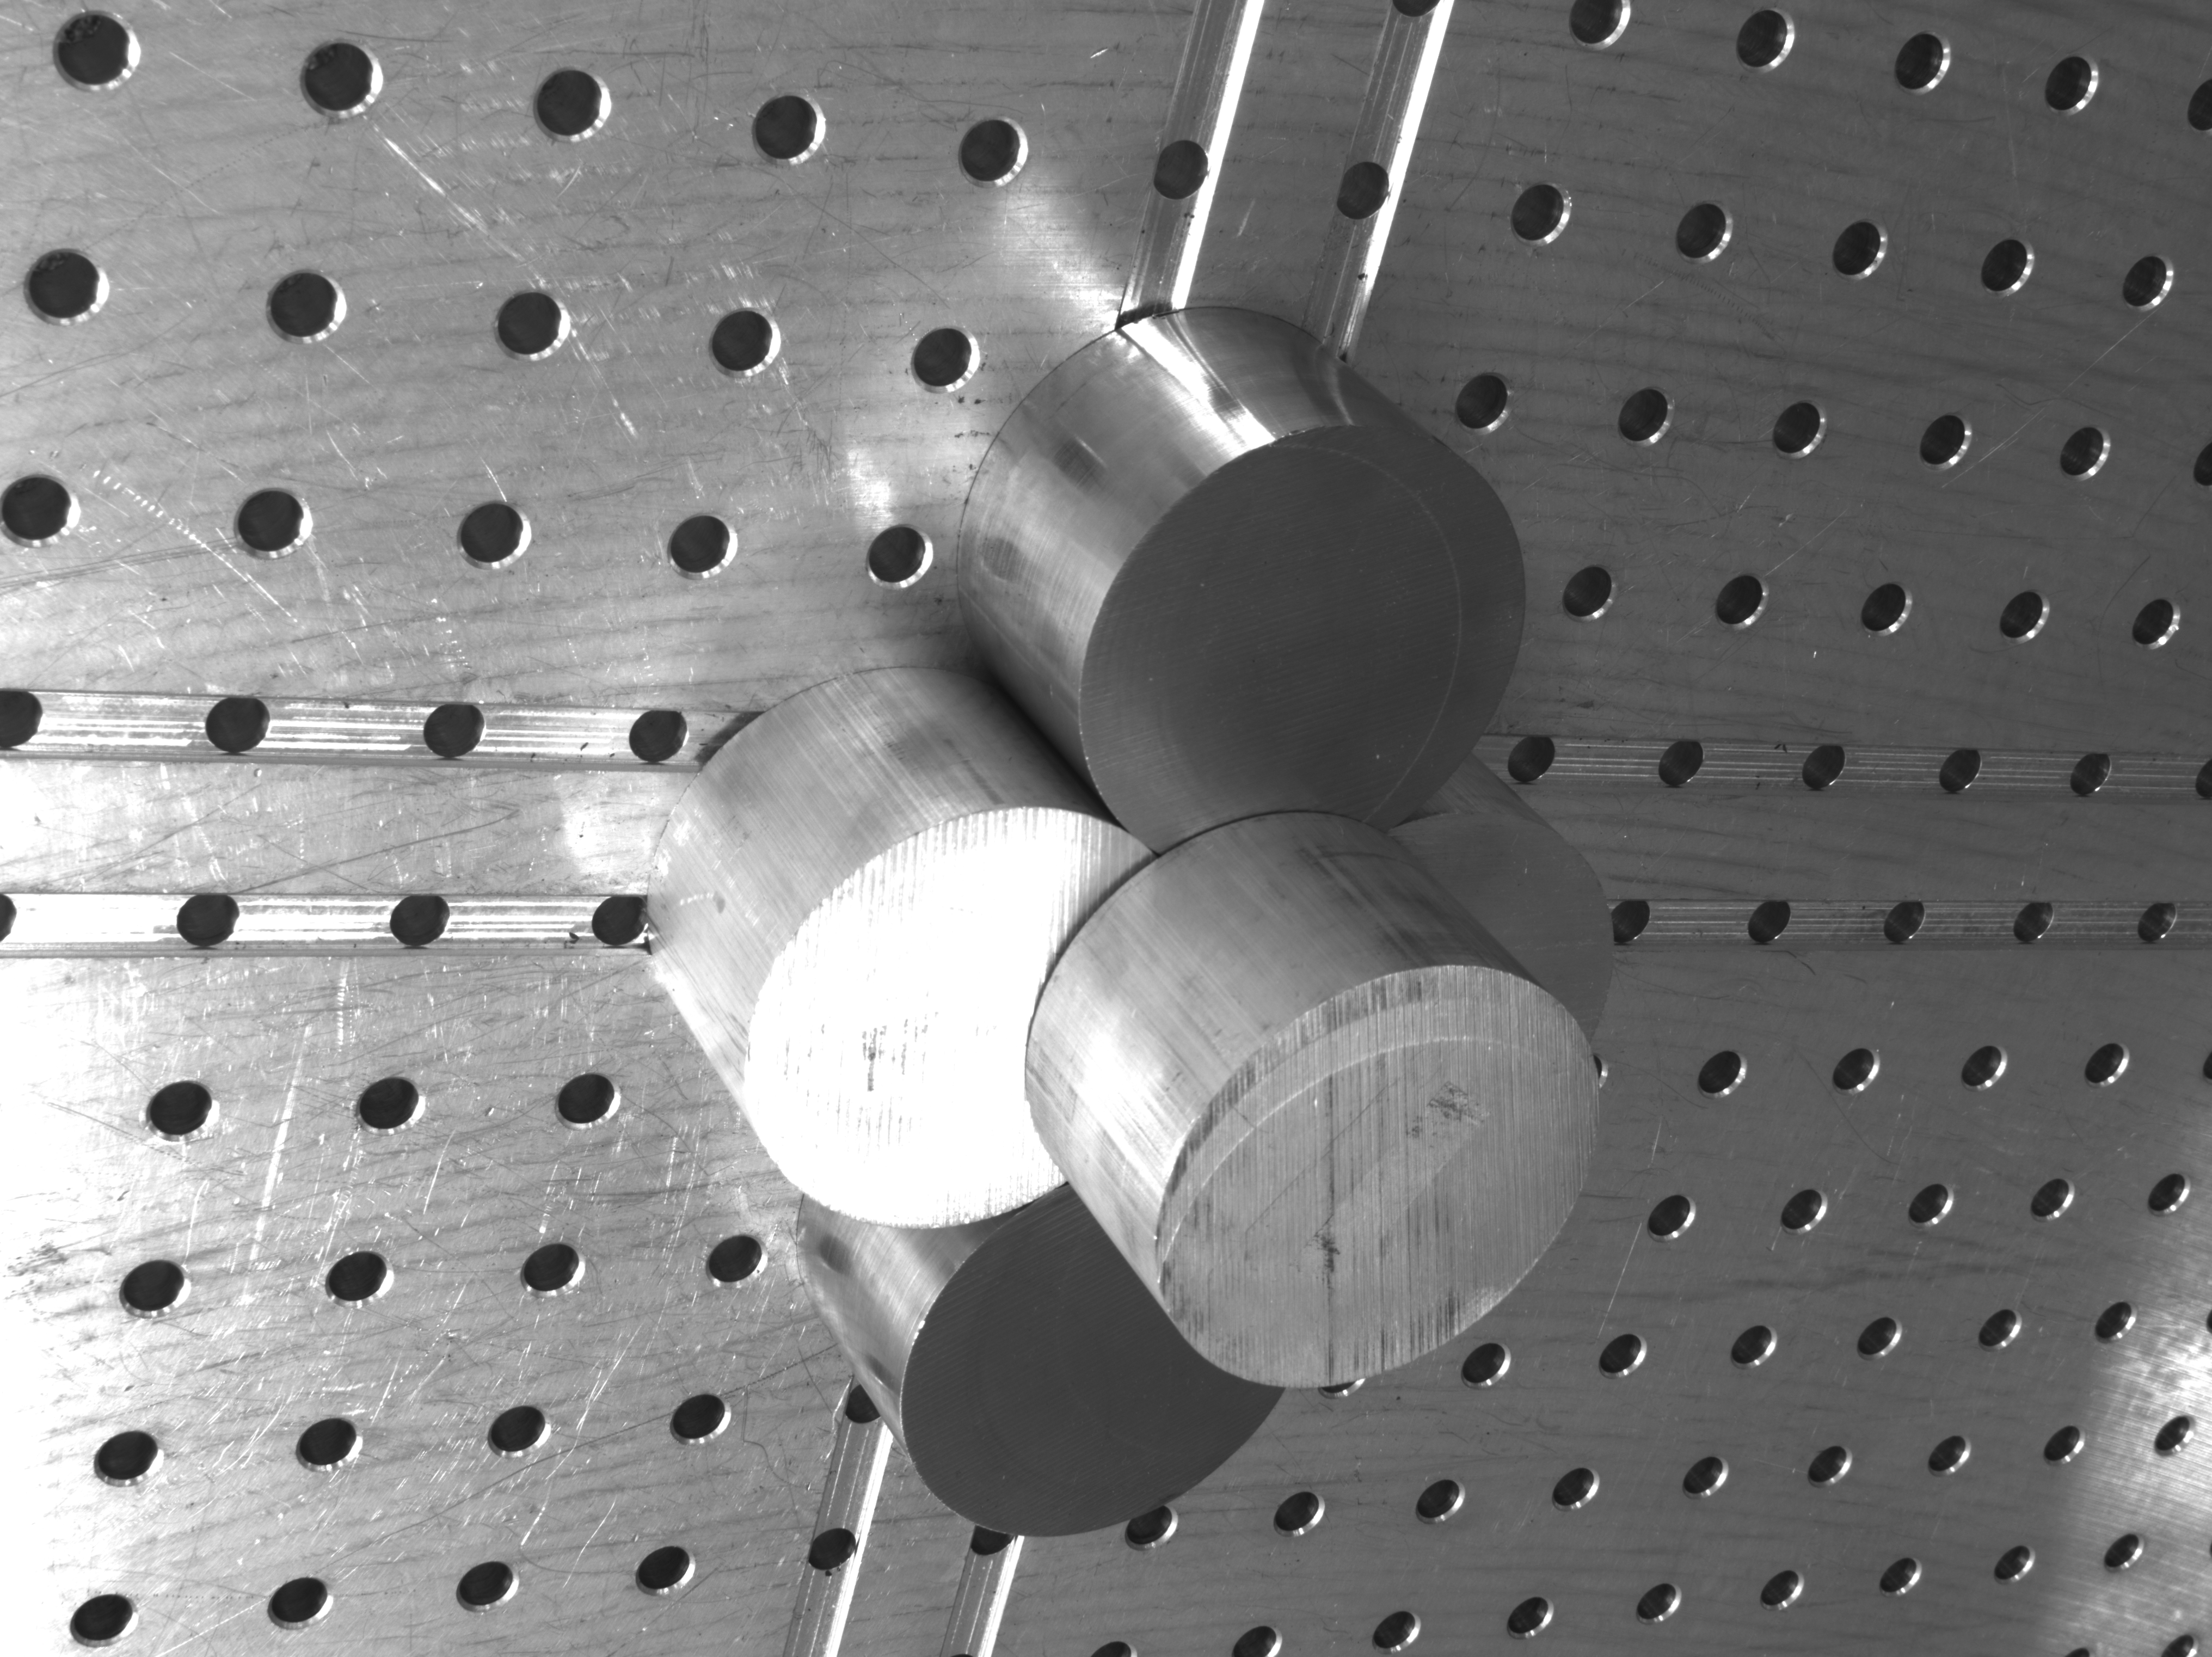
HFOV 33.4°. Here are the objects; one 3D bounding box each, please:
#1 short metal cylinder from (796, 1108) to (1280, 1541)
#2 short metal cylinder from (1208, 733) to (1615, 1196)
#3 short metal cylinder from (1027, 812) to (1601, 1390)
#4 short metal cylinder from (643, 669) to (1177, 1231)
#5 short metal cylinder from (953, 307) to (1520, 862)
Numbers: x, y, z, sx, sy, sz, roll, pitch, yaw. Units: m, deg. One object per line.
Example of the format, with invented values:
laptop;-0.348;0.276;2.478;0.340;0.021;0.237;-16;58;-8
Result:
short metal cylinder;-0.010;0.081;0.668;0.080;0.050;0.080;-13;122;-22
short metal cylinder;0.044;0.021;0.660;0.080;0.050;0.080;-13;124;-21
short metal cylinder;0.034;0.044;0.604;0.080;0.050;0.080;-13;124;-21
short metal cylinder;-0.032;0.020;0.620;0.080;0.050;0.080;-13;124;-21
short metal cylinder;0.021;-0.040;0.611;0.080;0.050;0.080;-14;124;-21
